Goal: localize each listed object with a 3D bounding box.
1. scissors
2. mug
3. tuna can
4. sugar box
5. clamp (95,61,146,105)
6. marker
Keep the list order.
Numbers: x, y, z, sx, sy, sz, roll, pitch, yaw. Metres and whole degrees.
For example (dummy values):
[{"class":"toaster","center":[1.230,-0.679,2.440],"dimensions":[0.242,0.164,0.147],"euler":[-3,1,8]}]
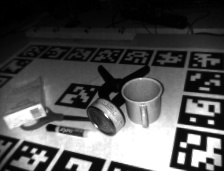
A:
[{"class":"scissors","center":[-0.139,0.075,0.557],"dimensions":[0.202,0.016,0.087],"euler":[-1,36,9]},{"class":"mug","center":[0.065,0.041,0.509],"dimensions":[0.093,0.082,0.116],"euler":[-13,36,-2]},{"class":"tuna can","center":[-0.008,0.067,0.487],"dimensions":[0.084,0.086,0.034],"euler":[18,47,31]},{"class":"sugar box","center":[-0.234,0.040,0.597],"dimensions":[0.093,0.045,0.174],"euler":[-19,34,-9]},{"class":"clamp","center":[0.014,-0.001,0.620],"dimensions":[0.164,0.037,0.202],"euler":[-2,41,11]},{"class":"marker","center":[-0.108,0.107,0.515],"dimensions":[0.120,0.020,0.019],"euler":[2,42,16]}]
